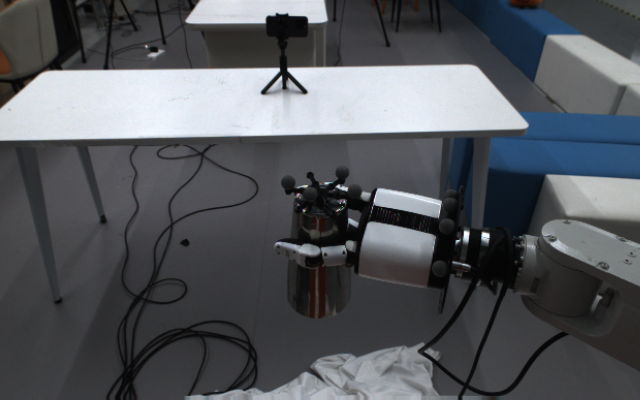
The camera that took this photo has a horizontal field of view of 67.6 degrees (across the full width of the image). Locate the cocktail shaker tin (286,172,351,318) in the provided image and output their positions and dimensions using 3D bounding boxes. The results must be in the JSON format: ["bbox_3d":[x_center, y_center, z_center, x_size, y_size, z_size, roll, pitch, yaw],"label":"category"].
[{"bbox_3d":[0.003,0.062,0.640,0.093,0.170,0.093,1,39,-1],"label":"cocktail shaker tin"}]
